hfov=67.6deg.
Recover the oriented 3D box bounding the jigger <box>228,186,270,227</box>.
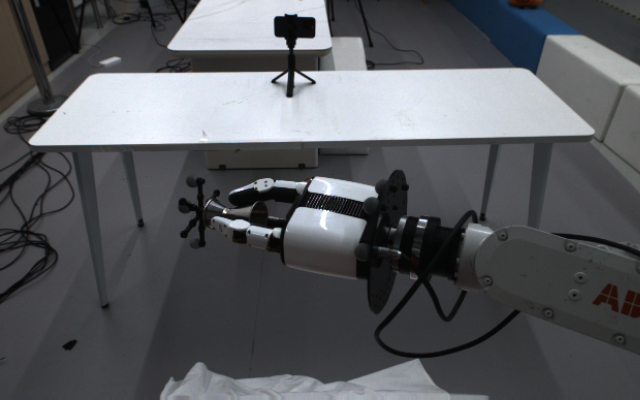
[{"bbox_3d":[-0.097,0.018,0.596,0.071,0.043,0.043,5,33,22],"label":"jigger"}]
